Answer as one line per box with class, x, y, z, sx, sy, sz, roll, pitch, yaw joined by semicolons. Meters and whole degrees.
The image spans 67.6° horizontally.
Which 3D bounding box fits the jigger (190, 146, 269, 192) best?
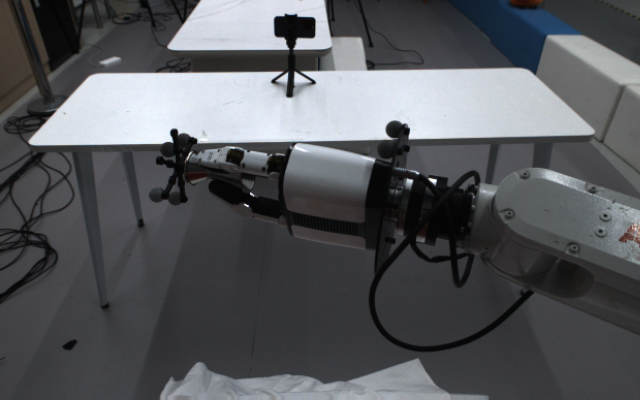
jigger;-0.104;-0.036;0.536;0.071;0.043;0.043;5;35;13
